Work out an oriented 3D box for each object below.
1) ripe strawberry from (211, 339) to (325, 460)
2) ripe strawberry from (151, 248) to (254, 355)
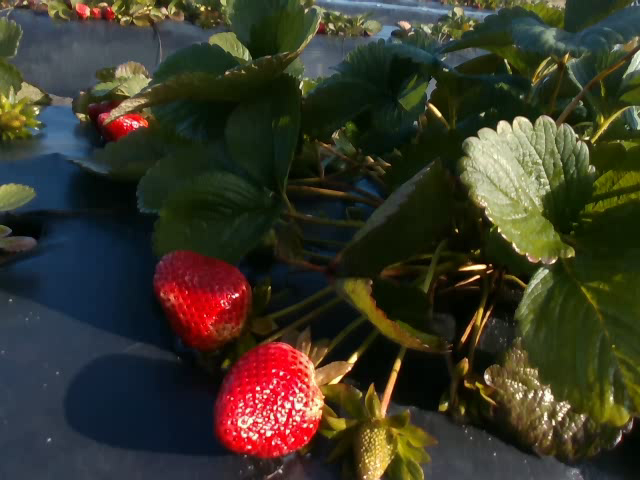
[{"bbox_3d":[-0.020,0.056,0.214,0.043,0.039,0.053,42,21,16],"label":"ripe strawberry"},{"bbox_3d":[-0.051,0.026,0.269,0.054,0.048,0.039,32,-35,-17],"label":"ripe strawberry"}]
